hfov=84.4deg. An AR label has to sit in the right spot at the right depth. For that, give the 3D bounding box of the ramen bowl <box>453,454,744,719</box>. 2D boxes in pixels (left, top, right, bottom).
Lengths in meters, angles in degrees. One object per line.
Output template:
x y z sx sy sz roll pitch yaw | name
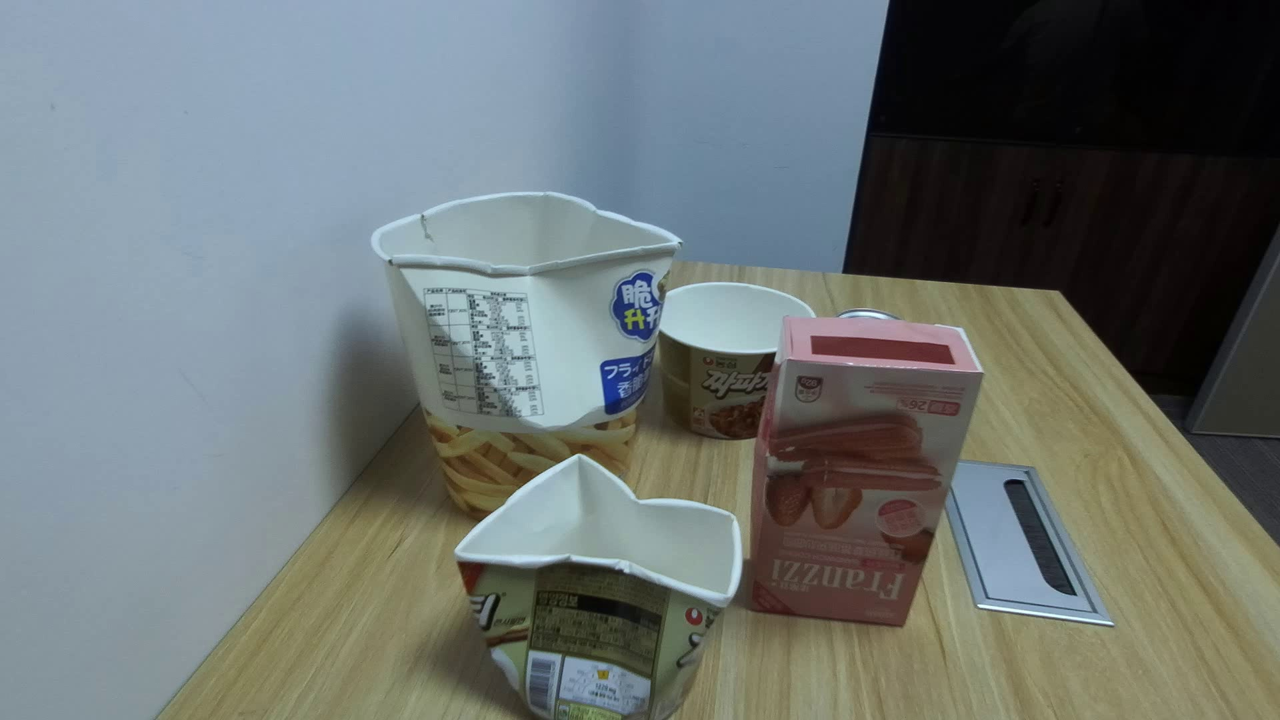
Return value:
-0.014 0.130 0.385 0.128 0.093 0.112 18 34 25 | ramen bowl

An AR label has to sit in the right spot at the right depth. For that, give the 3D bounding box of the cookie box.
0.115 0.067 0.404 0.105 0.187 0.049 5 32 5 | cookie box

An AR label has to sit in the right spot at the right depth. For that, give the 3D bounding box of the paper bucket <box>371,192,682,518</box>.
-0.085 0.001 0.510 0.163 0.202 0.168 -24 35 -34 | paper bucket
